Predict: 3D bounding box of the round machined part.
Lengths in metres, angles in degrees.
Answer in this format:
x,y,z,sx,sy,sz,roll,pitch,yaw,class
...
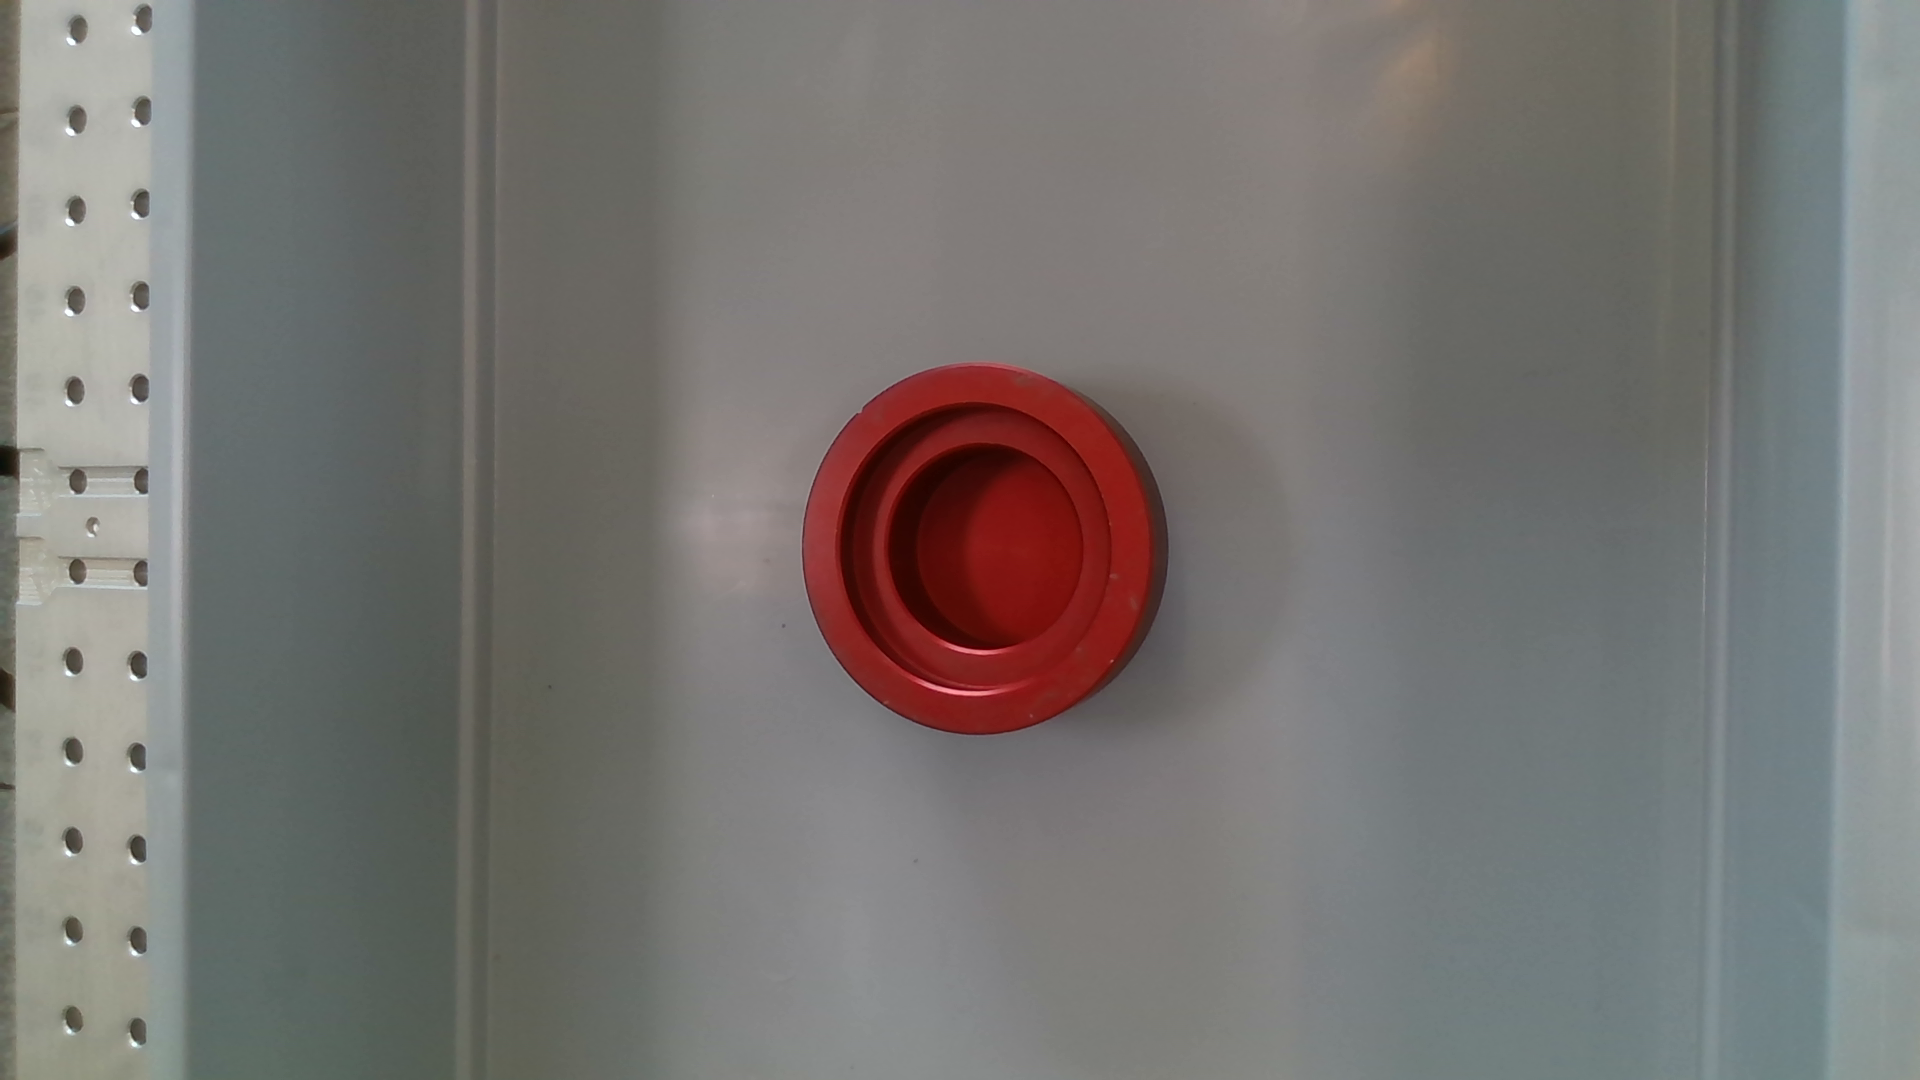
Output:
x,y,z,sx,sy,sz,roll,pitch,yaw,class
0.009,0.002,0.379,0.098,0.042,0.098,0,90,20,round machined part
